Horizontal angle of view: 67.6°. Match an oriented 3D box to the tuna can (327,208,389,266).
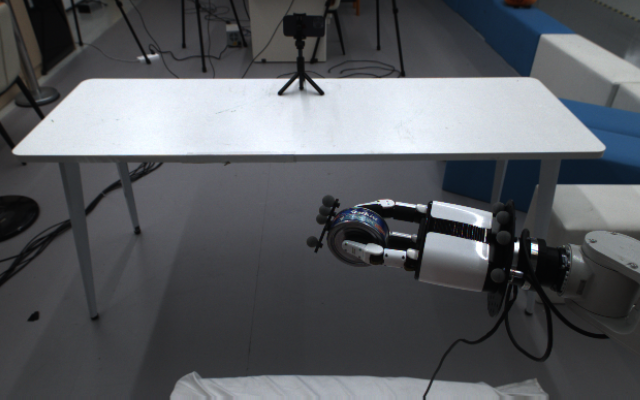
[{"bbox_3d":[0.056,0.052,0.687,0.085,0.085,0.034,9,35,10],"label":"tuna can"}]
